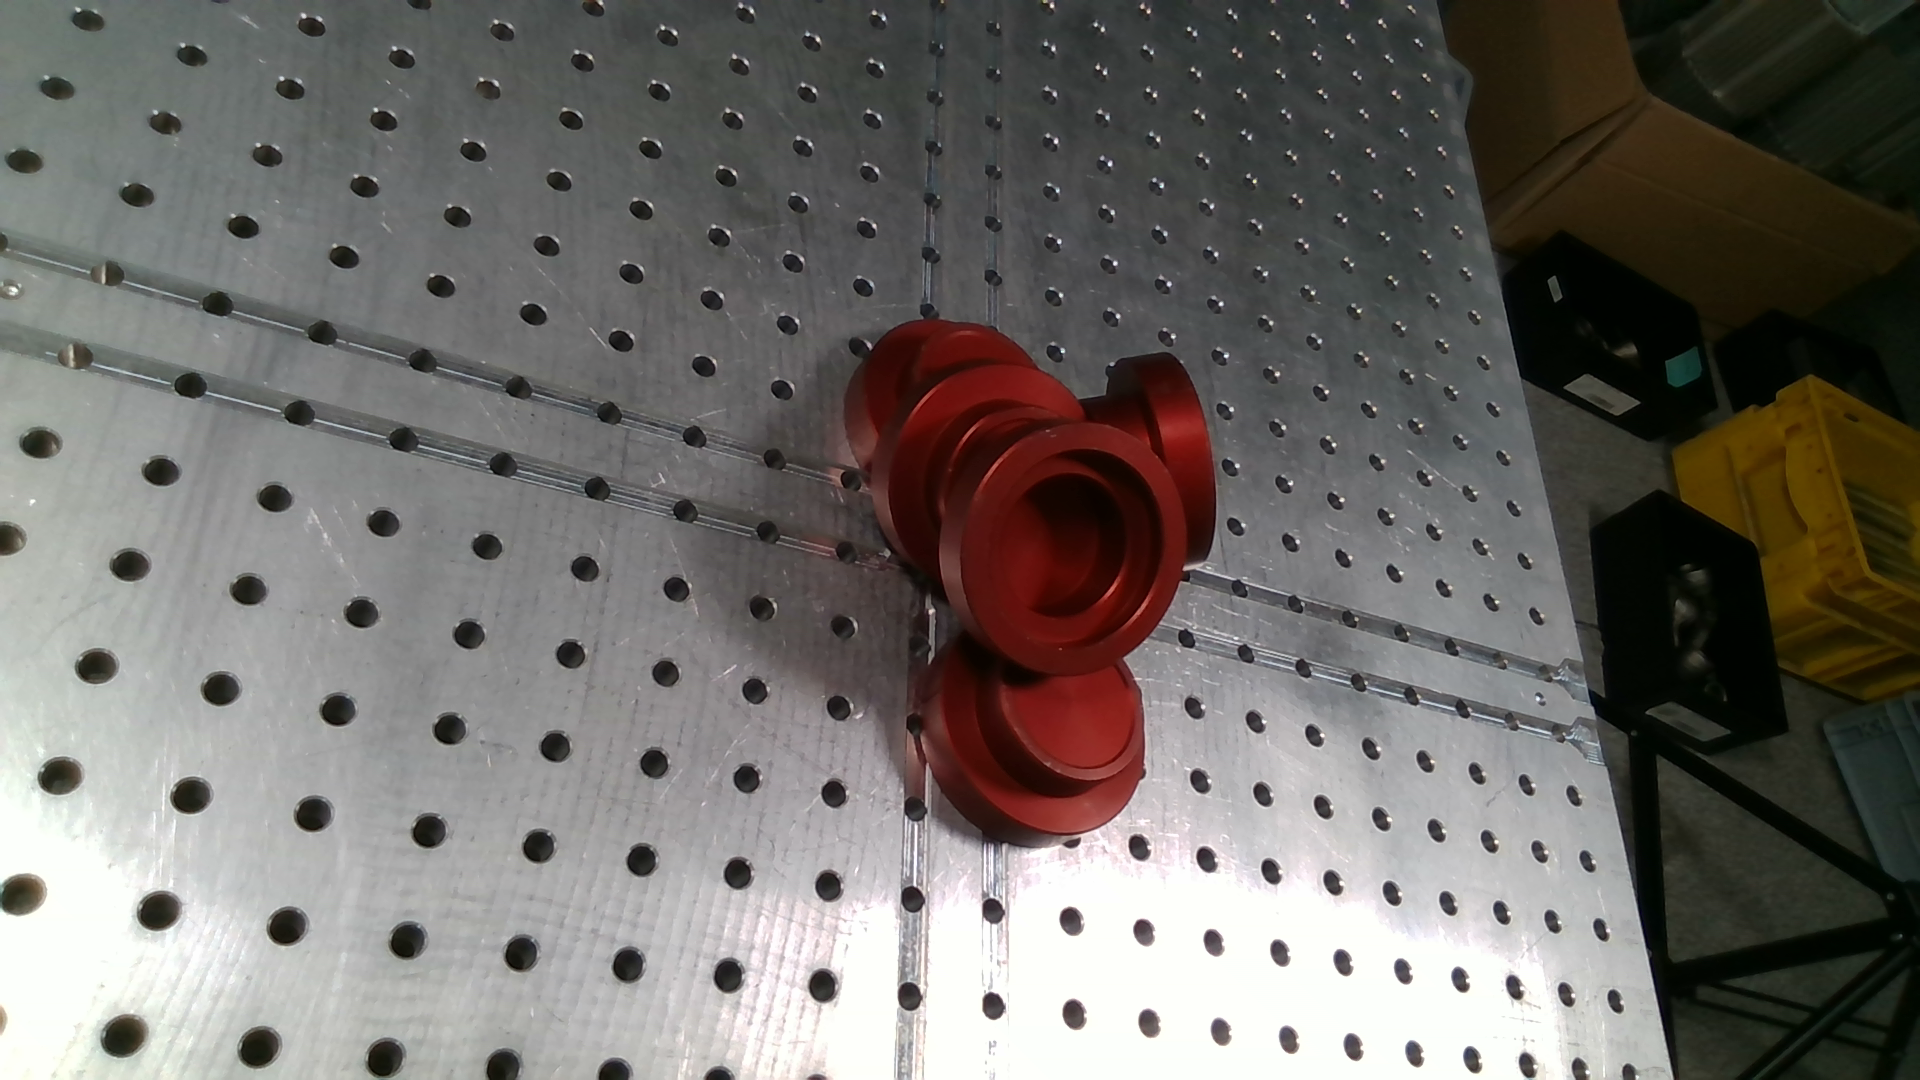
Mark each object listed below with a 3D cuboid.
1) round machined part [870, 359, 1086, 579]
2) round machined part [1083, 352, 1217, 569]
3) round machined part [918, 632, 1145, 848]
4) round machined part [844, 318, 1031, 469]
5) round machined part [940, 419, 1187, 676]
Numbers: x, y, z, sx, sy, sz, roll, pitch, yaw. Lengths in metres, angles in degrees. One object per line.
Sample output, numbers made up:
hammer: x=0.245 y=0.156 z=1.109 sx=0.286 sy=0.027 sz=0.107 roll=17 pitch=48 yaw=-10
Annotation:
round machined part: x=0.016 y=-0.025 z=0.570 sx=0.098 sy=0.042 sz=0.098 roll=-6 pitch=105 yaw=-25
round machined part: x=0.078 y=-0.032 z=0.614 sx=0.042 sy=0.098 sz=0.098 roll=-9 pitch=68 yaw=-7
round machined part: x=0.035 y=0.072 z=0.561 sx=0.098 sy=0.042 sz=0.098 roll=14 pitch=59 yaw=-25
round machined part: x=0.001 y=-0.057 z=0.610 sx=0.098 sy=0.042 sz=0.098 roll=14 pitch=59 yaw=-25
round machined part: x=0.036 y=0.001 z=0.538 sx=0.098 sy=0.042 sz=0.098 roll=-4 pitch=100 yaw=-24
